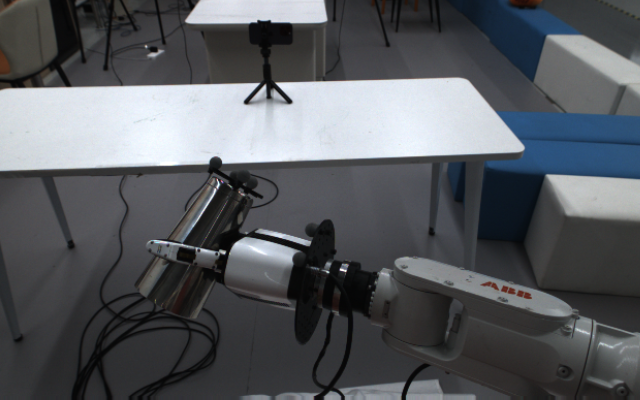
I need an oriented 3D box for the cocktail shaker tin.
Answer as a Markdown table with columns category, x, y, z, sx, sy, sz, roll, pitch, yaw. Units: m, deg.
| category | x | y | z | sx | sy | sz | roll | pitch | yaw |
| --- | --- | --- | --- | --- | --- | --- | --- | --- | --- |
| cocktail shaker tin | -0.159 | 0.056 | 0.641 | 0.093 | 0.093 | 0.170 | 26 | 83 | 31 |
